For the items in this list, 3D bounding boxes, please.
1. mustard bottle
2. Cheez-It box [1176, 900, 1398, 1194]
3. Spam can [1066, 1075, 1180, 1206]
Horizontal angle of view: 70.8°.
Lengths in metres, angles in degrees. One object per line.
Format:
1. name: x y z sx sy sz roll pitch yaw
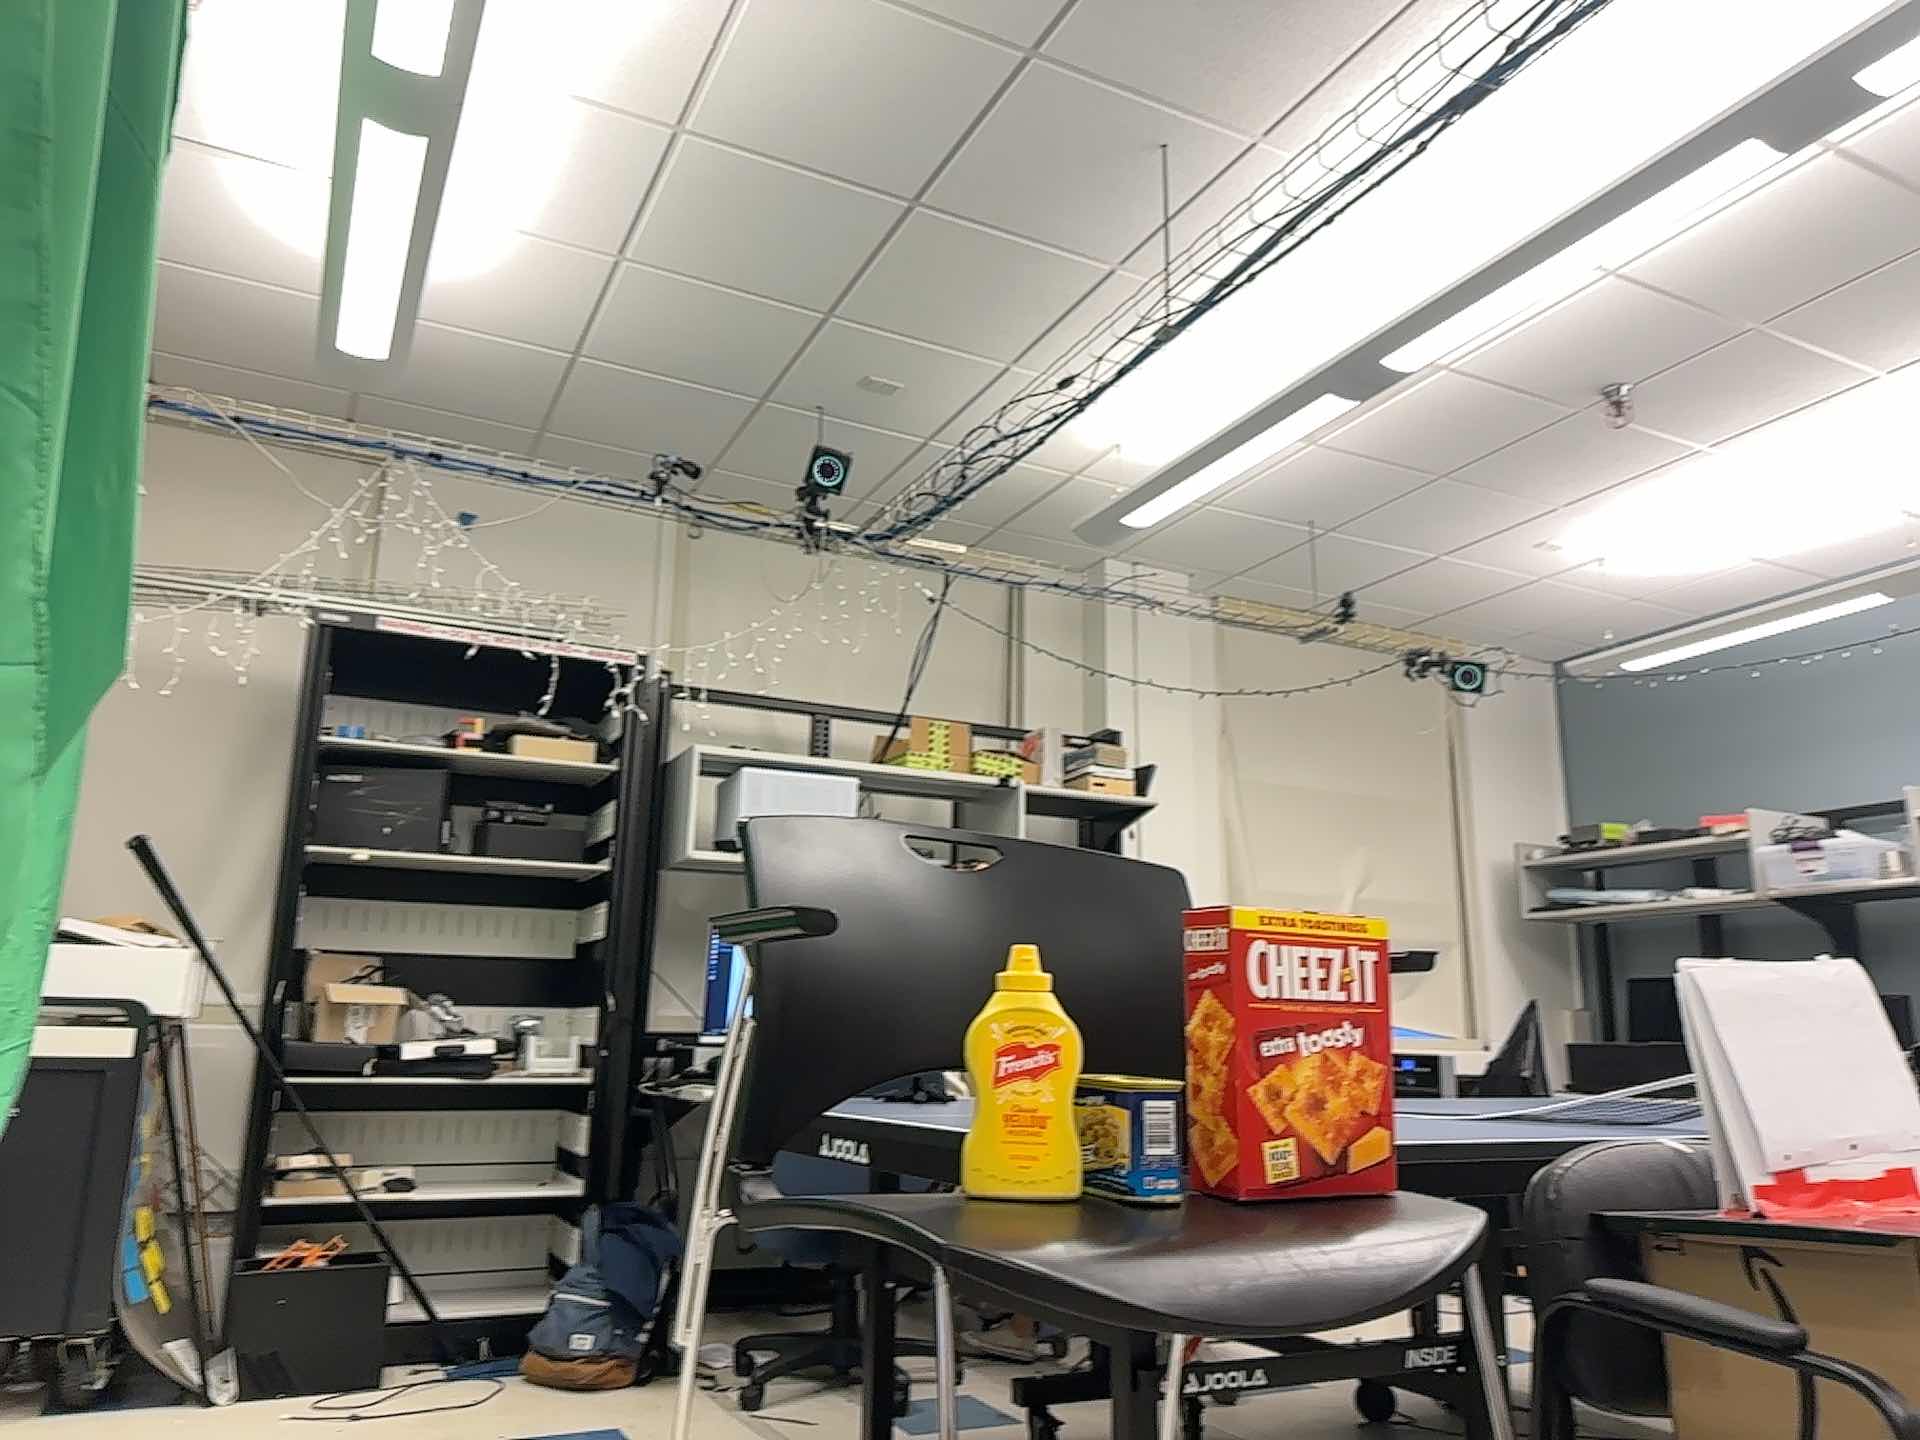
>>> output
1. mustard bottle: 0.040 0.260 1.007 0.092 0.184 0.054 5 -11 -9
2. Cheez-It box: 0.264 0.260 1.089 0.159 0.214 0.062 7 -15 -24
3. Spam can: 0.121 0.318 1.030 0.056 0.083 0.100 8 -13 -23
